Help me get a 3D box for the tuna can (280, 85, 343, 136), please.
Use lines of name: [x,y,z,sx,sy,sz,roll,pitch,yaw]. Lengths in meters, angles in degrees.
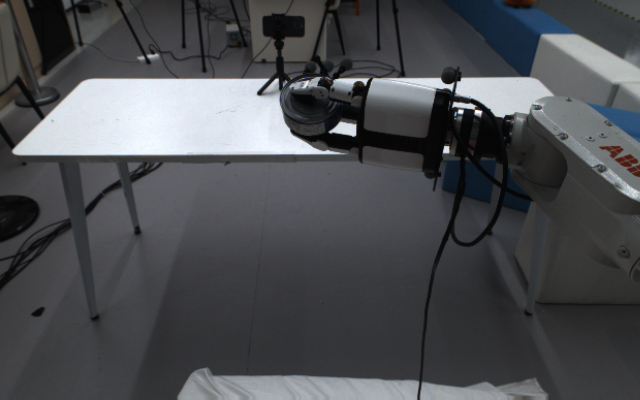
tuna can: [-0.011,-0.131,0.664,0.085,0.034,0.085,-1,60,3]
